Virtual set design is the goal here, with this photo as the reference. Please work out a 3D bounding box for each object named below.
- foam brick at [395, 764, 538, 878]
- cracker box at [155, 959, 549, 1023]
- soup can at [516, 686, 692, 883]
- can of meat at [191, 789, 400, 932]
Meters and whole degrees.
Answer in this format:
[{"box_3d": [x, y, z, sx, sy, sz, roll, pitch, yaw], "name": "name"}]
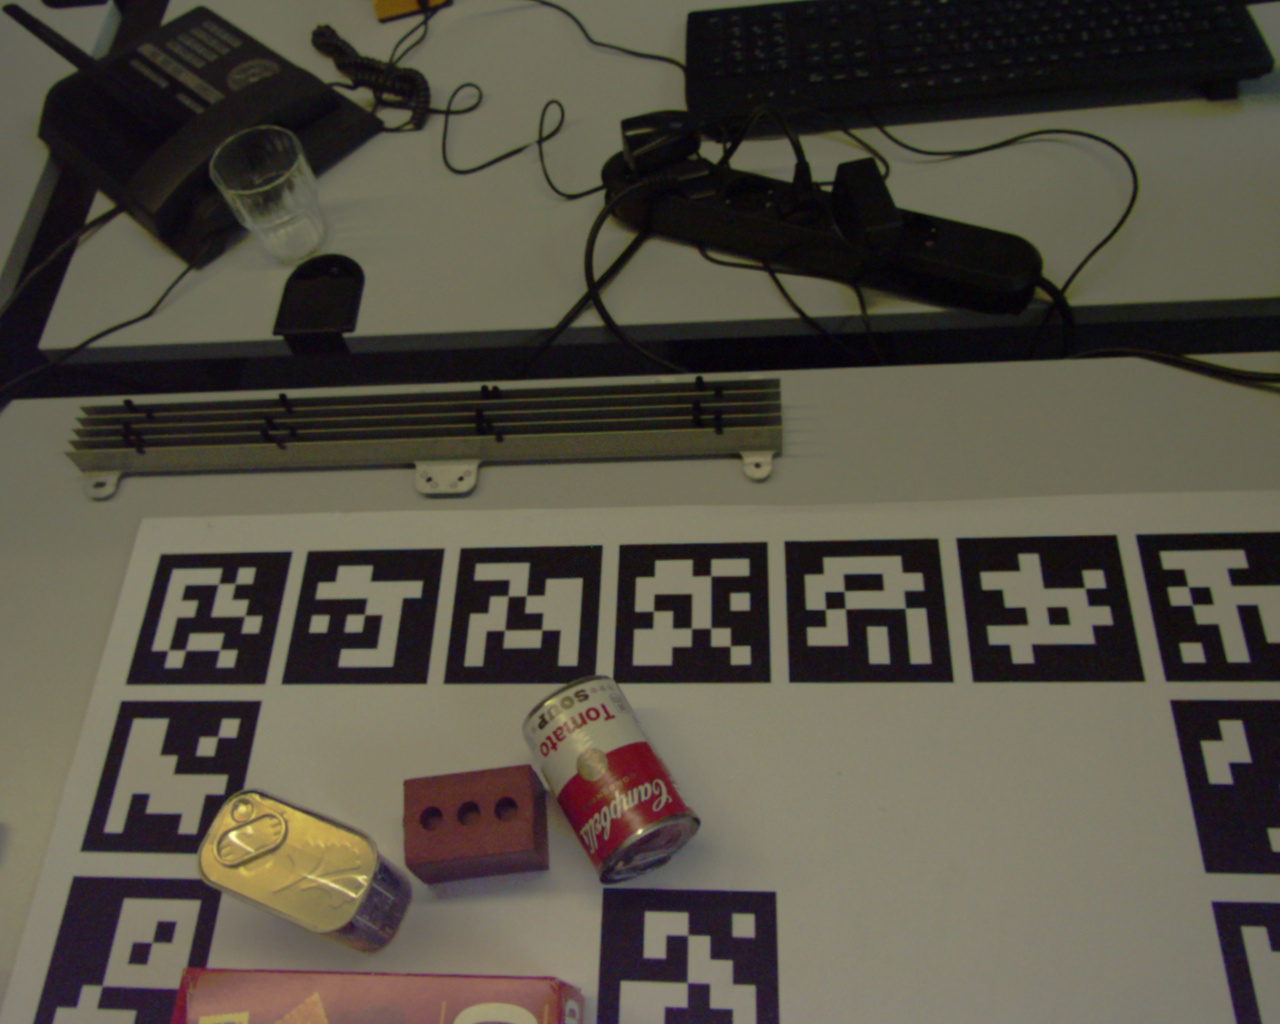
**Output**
[{"box_3d": [-0.106, 0.193, 0.710, 0.078, 0.051, 0.053, -10, 62, 3], "name": "foam brick"}, {"box_3d": [-0.159, 0.335, 0.613, 0.214, 0.071, 0.165, -7, 60, 9], "name": "cracker box"}, {"box_3d": [-0.024, 0.167, 0.710, 0.067, 0.067, 0.103, -34, 57, -10], "name": "soup can"}, {"box_3d": [-0.205, 0.215, 0.692, 0.102, 0.083, 0.058, 12, 65, 14], "name": "can of meat"}]
